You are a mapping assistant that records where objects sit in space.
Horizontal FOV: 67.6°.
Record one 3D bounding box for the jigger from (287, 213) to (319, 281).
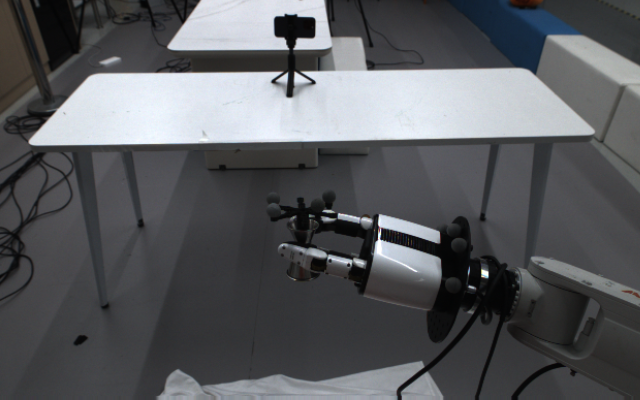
[{"bbox_3d":[-0.021,0.062,0.606,0.043,0.071,0.043,0,21,0],"label":"jigger"}]
